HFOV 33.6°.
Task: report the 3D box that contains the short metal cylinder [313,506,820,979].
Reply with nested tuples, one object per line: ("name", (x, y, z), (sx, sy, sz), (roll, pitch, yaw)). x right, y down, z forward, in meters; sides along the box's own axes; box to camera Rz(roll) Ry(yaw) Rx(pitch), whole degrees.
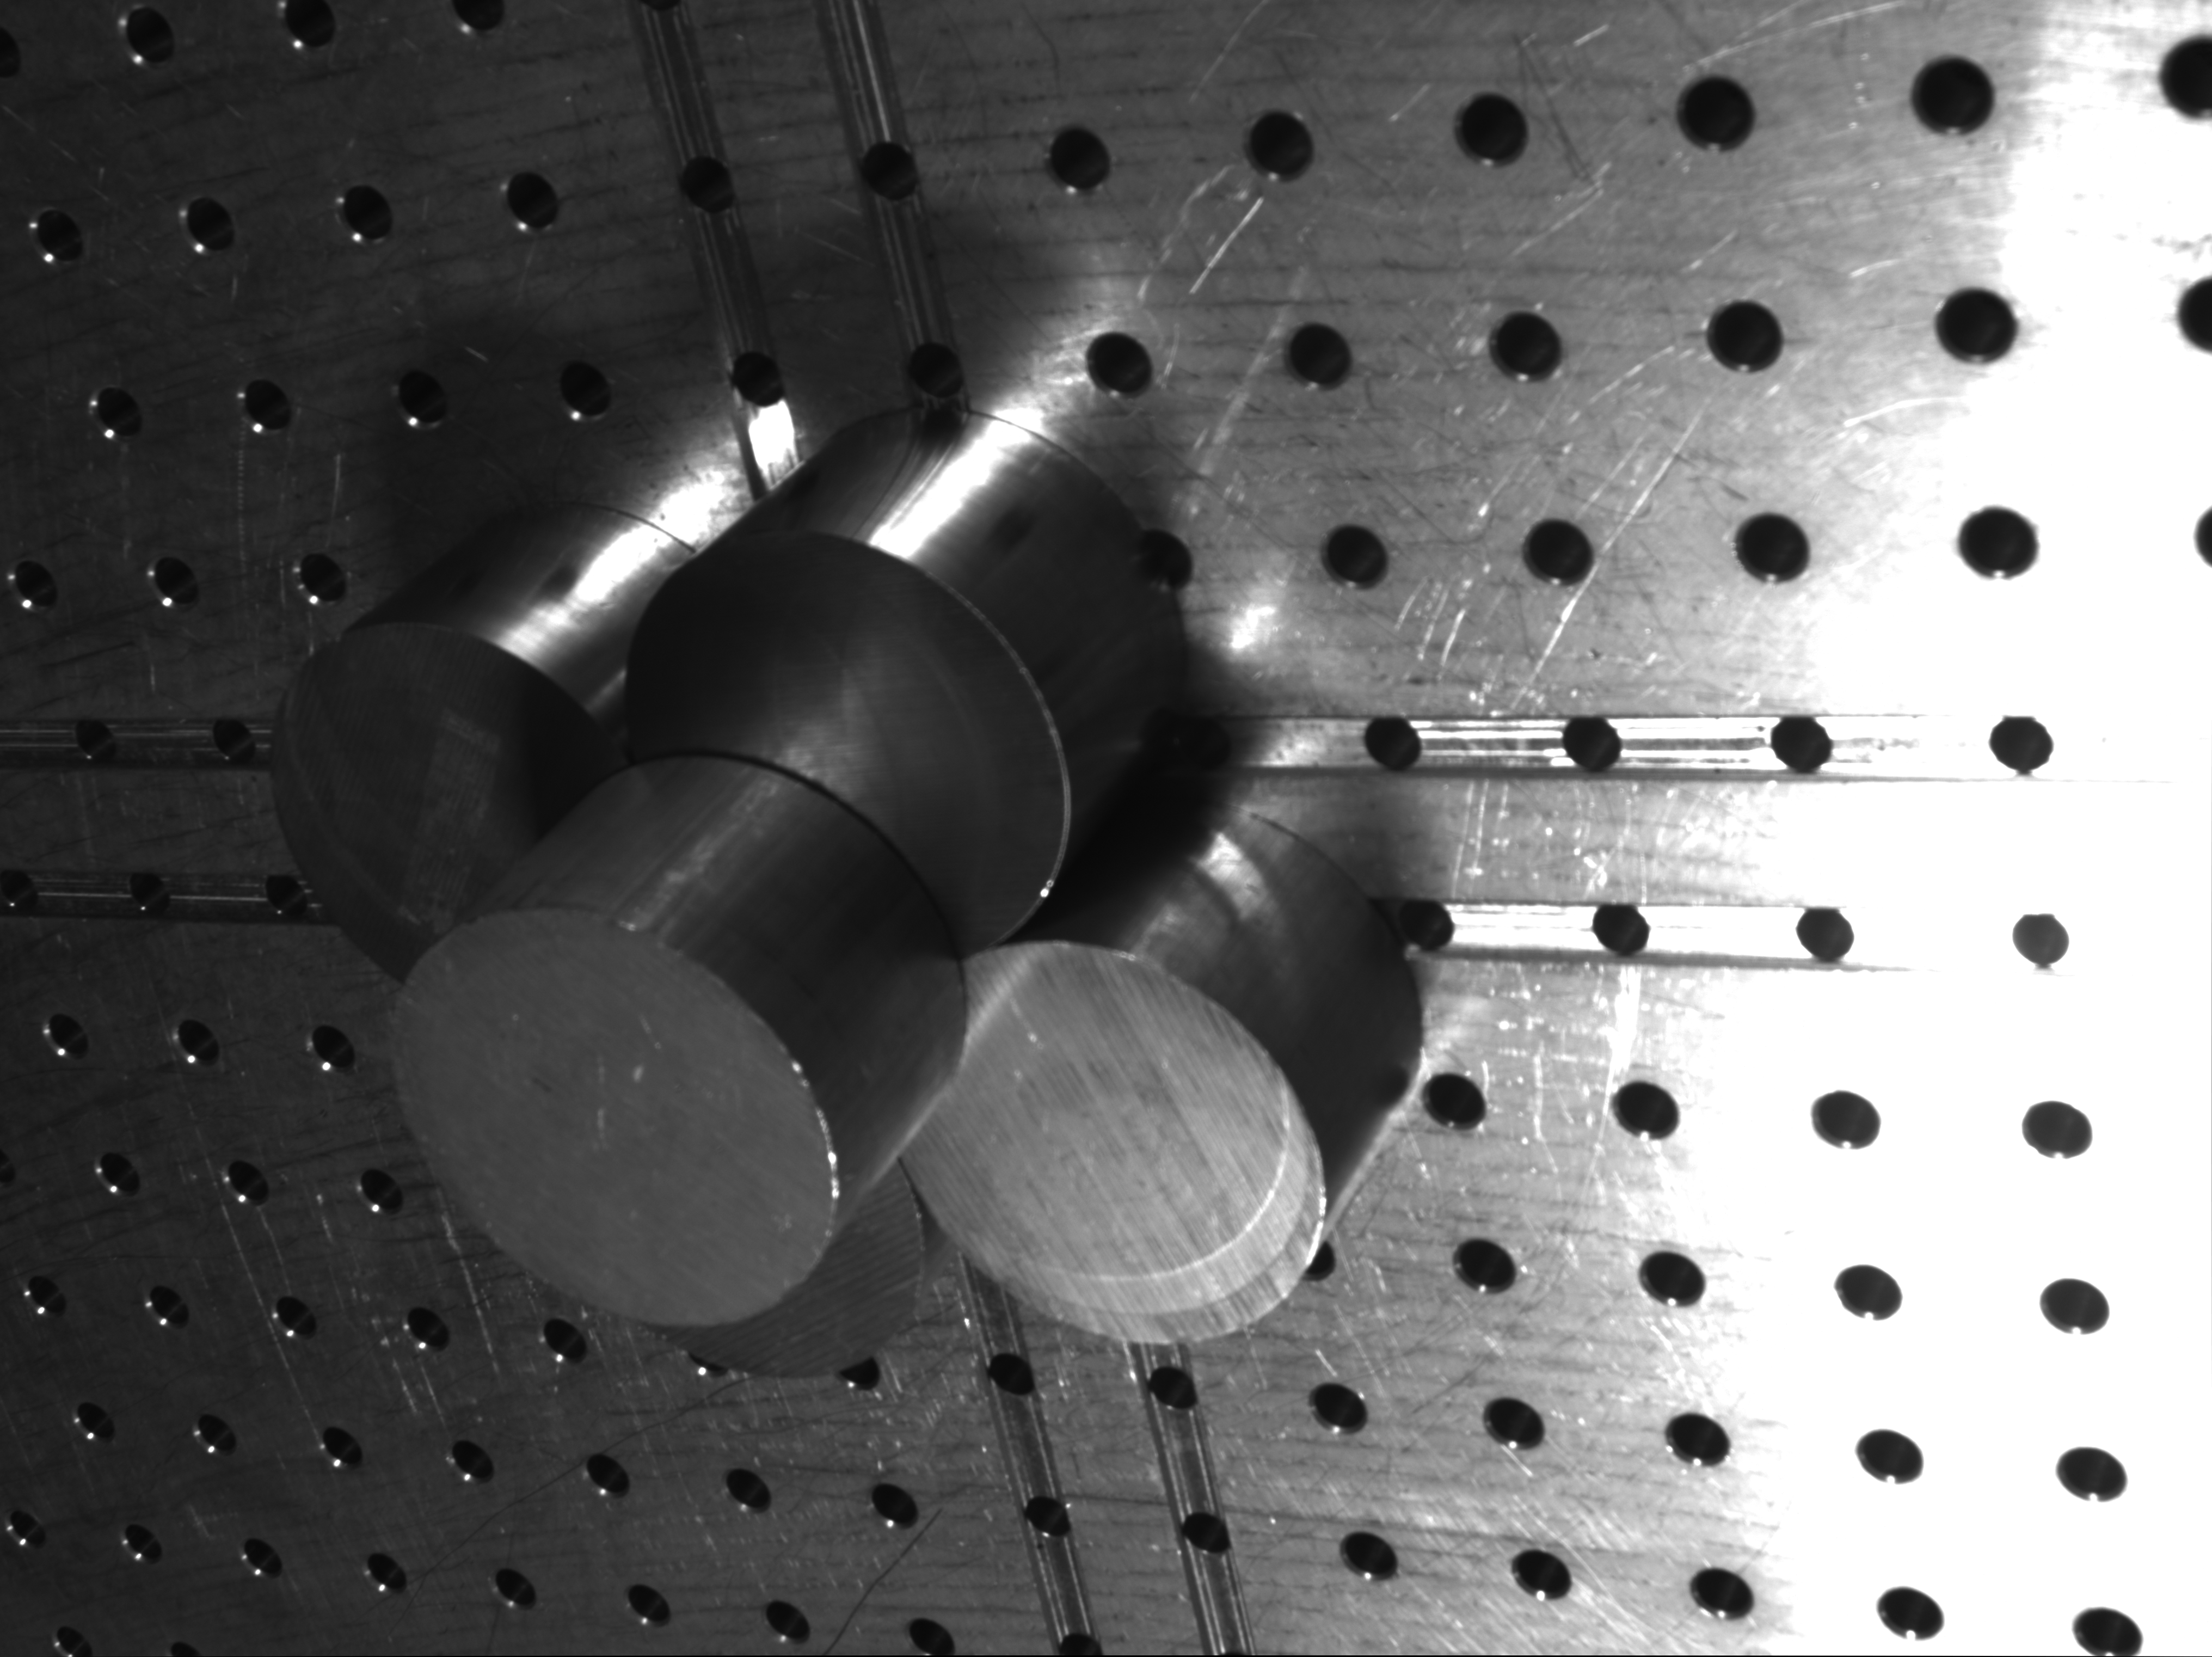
("short metal cylinder", (-0.094, -0.011, 0.658), (0.080, 0.050, 0.080), (12, 123, 20))

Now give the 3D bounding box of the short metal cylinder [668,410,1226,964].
("short metal cylinder", (-0.026, -0.024, 0.616), (0.080, 0.050, 0.080), (12, 123, 20))

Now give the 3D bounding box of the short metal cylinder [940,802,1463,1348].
("short metal cylinder", (0.016, 0.043, 0.635), (0.080, 0.050, 0.080), (12, 123, 20))

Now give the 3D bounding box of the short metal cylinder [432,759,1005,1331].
("short metal cylinder", (-0.063, 0.036, 0.605), (0.080, 0.050, 0.080), (12, 124, 19))

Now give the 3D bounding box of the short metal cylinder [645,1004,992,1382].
("short metal cylinder", (-0.052, 0.055, 0.676), (0.080, 0.050, 0.080), (12, 123, 20))
